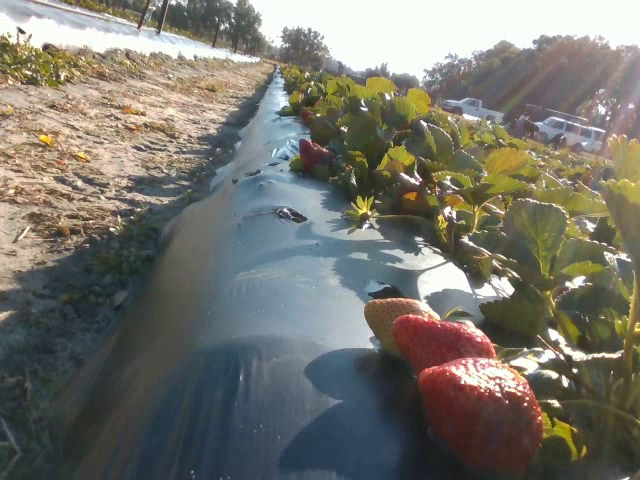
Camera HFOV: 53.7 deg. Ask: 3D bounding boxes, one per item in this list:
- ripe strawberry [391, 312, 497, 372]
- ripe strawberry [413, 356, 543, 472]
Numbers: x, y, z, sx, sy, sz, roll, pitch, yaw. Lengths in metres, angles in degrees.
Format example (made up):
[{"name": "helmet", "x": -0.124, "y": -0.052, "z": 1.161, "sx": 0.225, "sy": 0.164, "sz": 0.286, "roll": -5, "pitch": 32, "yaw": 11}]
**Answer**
[{"name": "ripe strawberry", "x": 0.060, "y": 0.054, "z": 0.300, "sx": 0.061, "sy": 0.044, "sz": 0.051, "roll": 32, "pitch": 34, "yaw": 5}, {"name": "ripe strawberry", "x": 0.061, "y": 0.065, "z": 0.248, "sx": 0.056, "sy": 0.052, "sz": 0.067, "roll": -2, "pitch": -30, "yaw": 41}]
